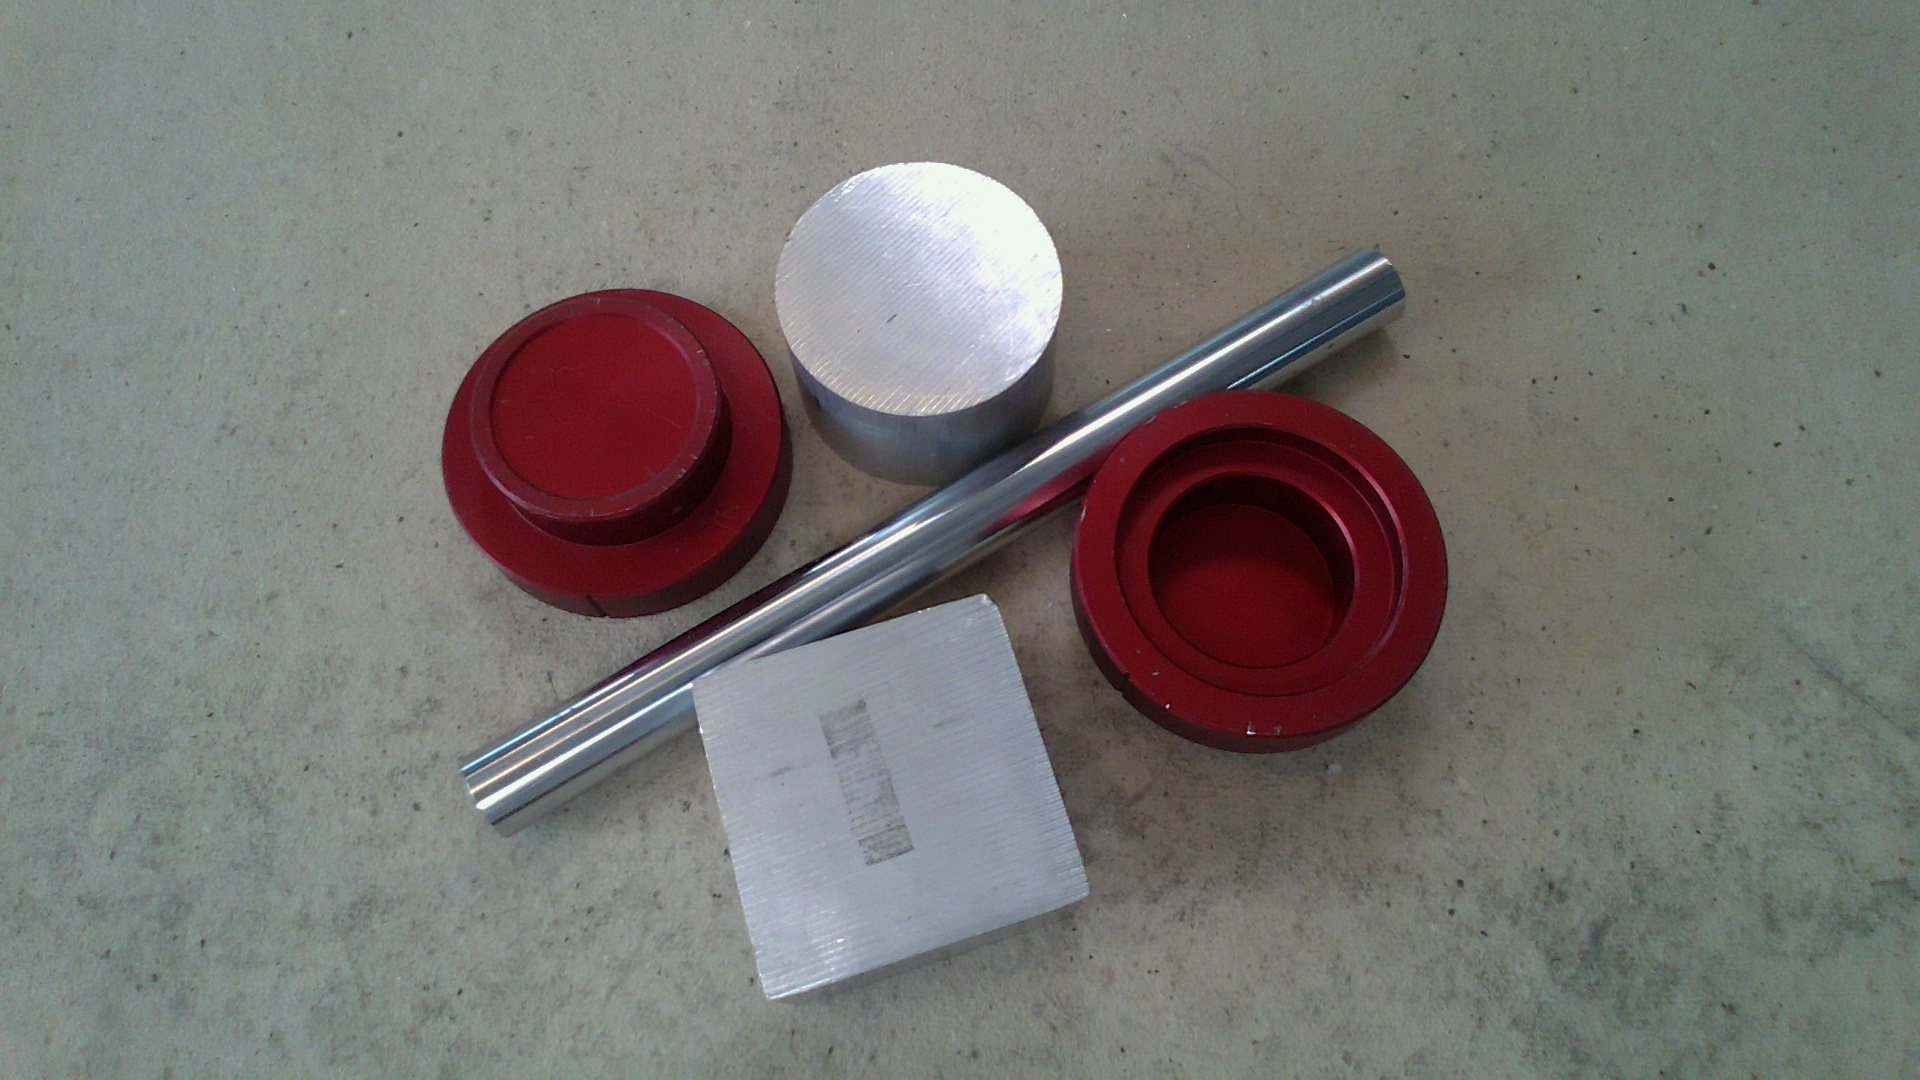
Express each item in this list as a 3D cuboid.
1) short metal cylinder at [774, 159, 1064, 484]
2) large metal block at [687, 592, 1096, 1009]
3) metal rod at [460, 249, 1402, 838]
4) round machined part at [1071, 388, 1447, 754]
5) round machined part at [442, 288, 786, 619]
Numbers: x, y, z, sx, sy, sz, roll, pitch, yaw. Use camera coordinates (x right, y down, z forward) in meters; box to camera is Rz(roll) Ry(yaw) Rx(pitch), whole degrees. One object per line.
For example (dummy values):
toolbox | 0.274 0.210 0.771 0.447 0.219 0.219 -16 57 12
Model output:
short metal cylinder | -0.011 -0.063 0.404 0.080 0.050 0.080 0 70 0
large metal block | -0.018 0.069 0.357 0.080 0.050 0.080 -16 71 -6
metal rod | 0.000 -0.005 0.397 0.300 0.025 0.025 -30 73 -11
round machined part | 0.079 0.011 0.382 0.098 0.042 0.098 0 70 0
round machined part | -0.100 -0.030 0.396 0.098 0.042 0.098 0 70 0
